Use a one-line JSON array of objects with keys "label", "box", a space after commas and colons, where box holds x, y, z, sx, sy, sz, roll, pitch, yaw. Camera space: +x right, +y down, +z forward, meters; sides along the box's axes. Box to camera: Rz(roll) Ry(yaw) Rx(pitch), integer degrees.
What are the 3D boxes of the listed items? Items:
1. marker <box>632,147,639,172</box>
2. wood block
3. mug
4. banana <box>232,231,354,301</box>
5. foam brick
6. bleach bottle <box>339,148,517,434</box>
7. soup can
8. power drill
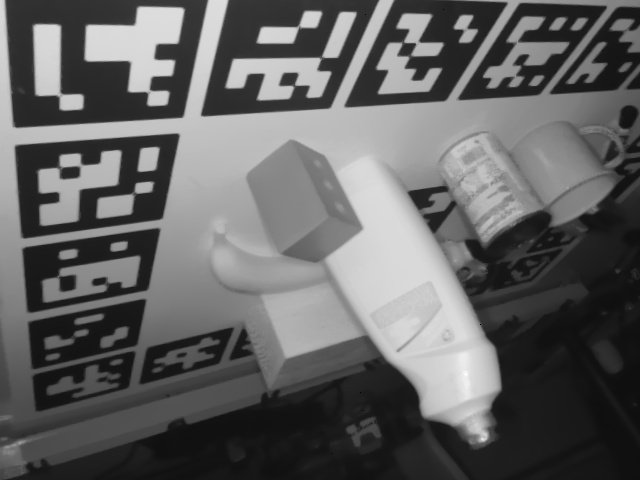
[{"label": "marker", "box": [0.367, -0.114, 0.776, 0.020, 0.019, 0.121, -27, 148, -1]}, {"label": "wood block", "box": [0.045, 0.092, 0.787, 0.209, 0.091, 0.088, -9, 144, -26]}, {"label": "mug", "box": [0.274, -0.071, 0.708, 0.116, 0.081, 0.094, -36, 146, 11]}, {"label": "banana", "box": [-0.011, 0.031, 0.697, 0.200, 0.039, 0.073, 5, 124, -37]}, {"label": "foam brick", "box": [-0.005, -0.043, 0.560, 0.051, 0.078, 0.053, -36, 149, 22]}, {"label": "bleach bottle", "box": [0.085, 0.044, 0.585, 0.101, 0.251, 0.069, -40, 147, 25]}, {"label": "soup can", "box": [0.181, -0.043, 0.654, 0.068, 0.102, 0.067, -16, 151, -8]}, {"label": "power drill", "box": [0.271, -0.002, 0.845, 0.184, 0.057, 0.187, -41, 143, 26]}]
